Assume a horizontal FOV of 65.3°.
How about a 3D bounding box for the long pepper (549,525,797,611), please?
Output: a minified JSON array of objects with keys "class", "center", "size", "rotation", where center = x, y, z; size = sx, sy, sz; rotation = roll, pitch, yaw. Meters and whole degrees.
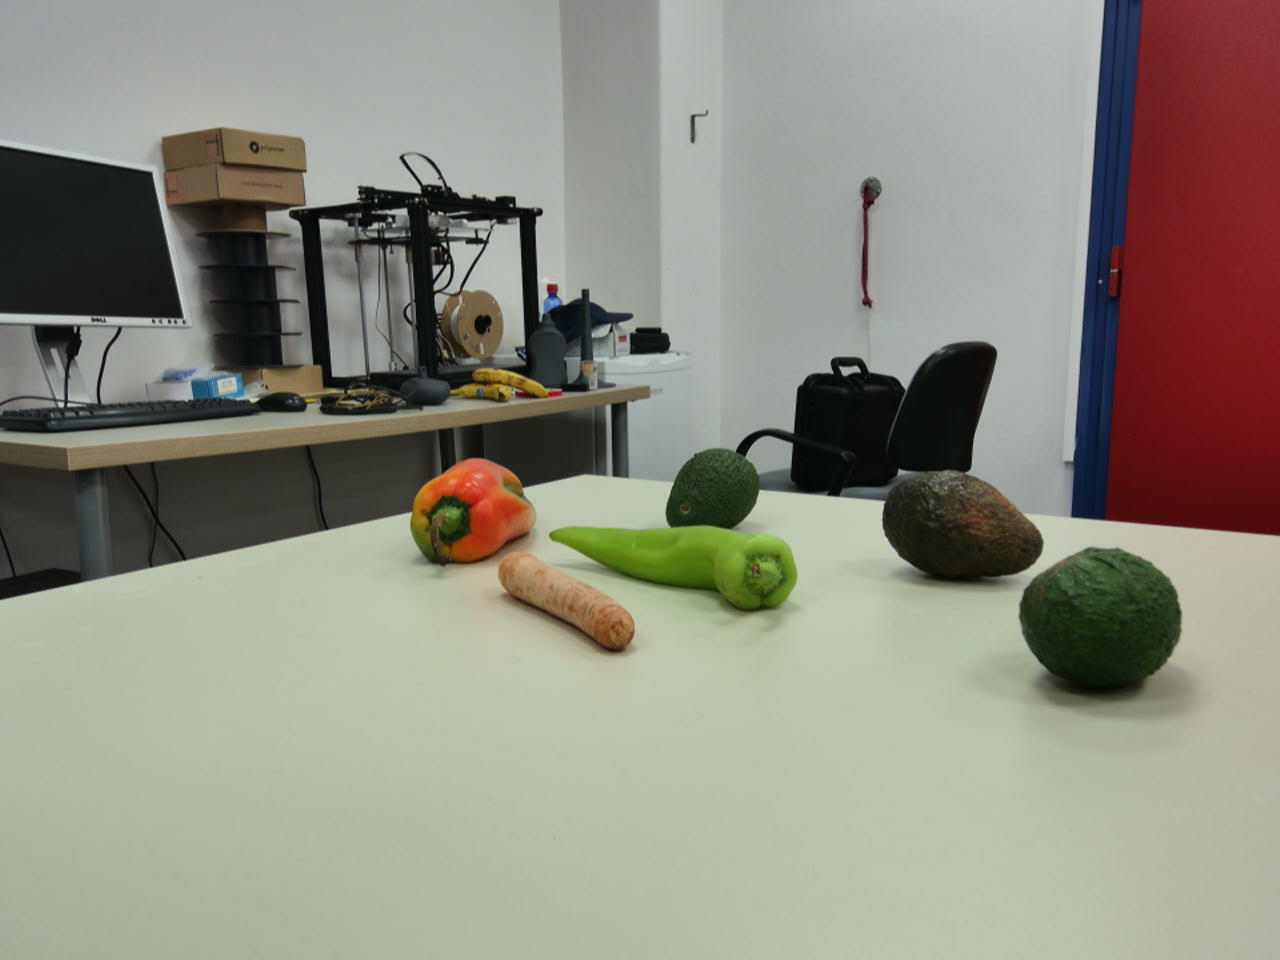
[{"class":"long pepper","center":[0.025,0.046,0.638],"size":[0.065,0.045,0.205],"rotation":[-5,9,-38]}]
